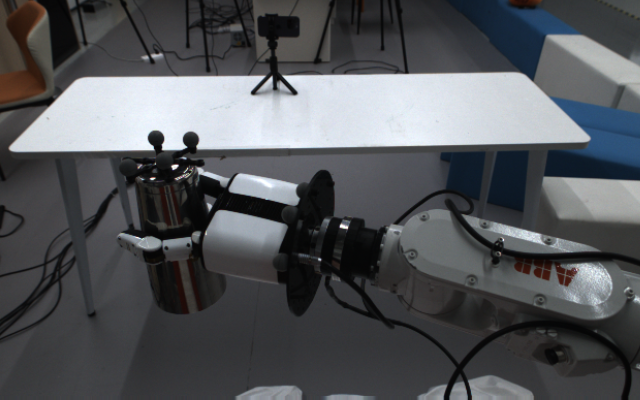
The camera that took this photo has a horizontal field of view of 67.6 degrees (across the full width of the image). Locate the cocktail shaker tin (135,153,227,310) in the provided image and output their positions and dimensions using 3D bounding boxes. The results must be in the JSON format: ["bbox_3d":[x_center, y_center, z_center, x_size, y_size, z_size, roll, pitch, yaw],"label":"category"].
[{"bbox_3d":[-0.161,0.038,0.562,0.093,0.170,0.093,-1,32,1],"label":"cocktail shaker tin"}]
